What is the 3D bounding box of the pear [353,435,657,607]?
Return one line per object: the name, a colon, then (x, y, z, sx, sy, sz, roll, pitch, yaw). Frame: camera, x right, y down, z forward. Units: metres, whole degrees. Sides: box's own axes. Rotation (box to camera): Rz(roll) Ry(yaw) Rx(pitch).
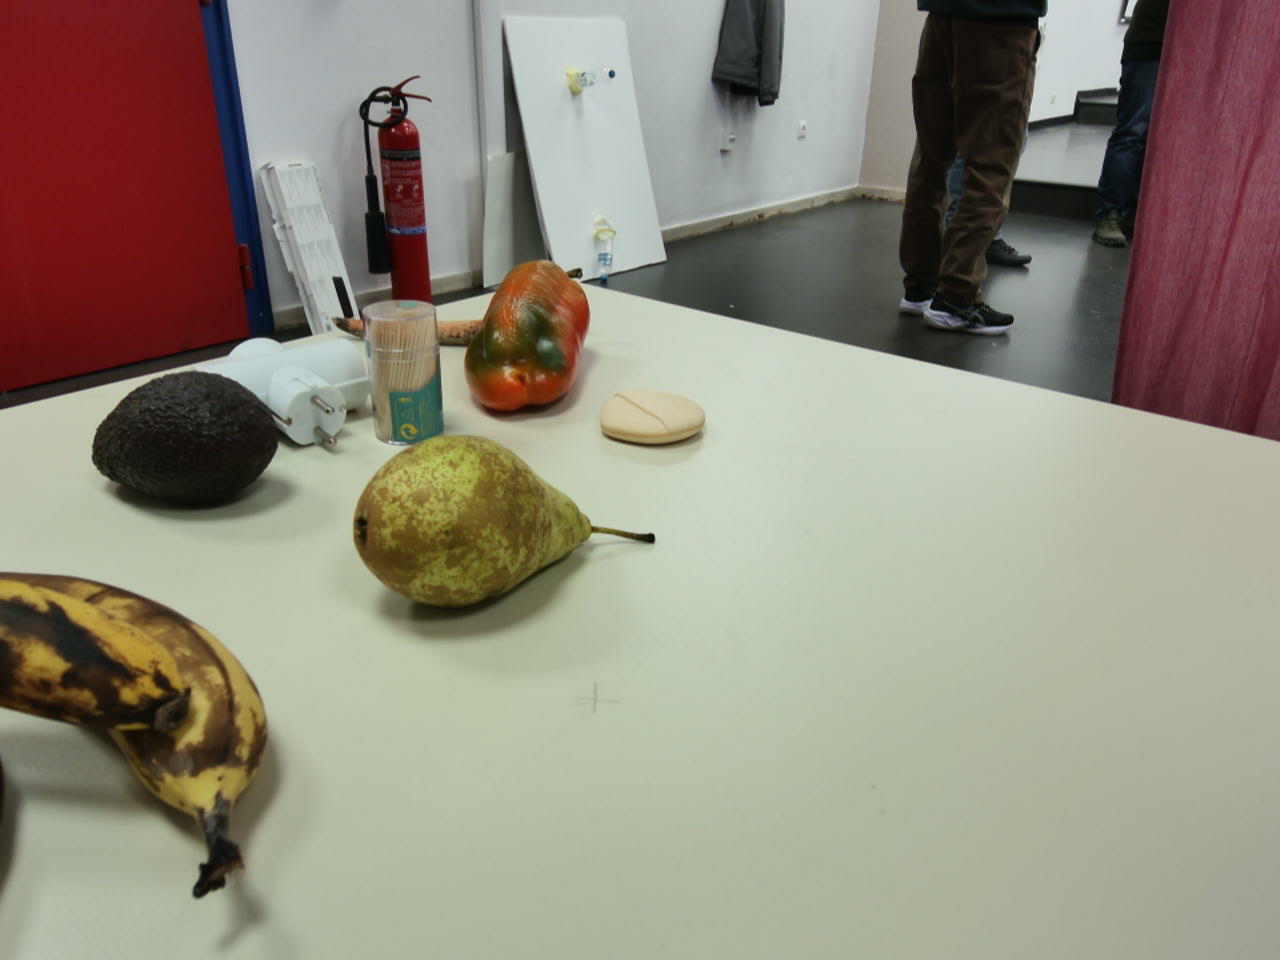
pear: (-0.063, 0.010, 0.430, 0.071, 0.075, 0.128, 12, 27, 29)
